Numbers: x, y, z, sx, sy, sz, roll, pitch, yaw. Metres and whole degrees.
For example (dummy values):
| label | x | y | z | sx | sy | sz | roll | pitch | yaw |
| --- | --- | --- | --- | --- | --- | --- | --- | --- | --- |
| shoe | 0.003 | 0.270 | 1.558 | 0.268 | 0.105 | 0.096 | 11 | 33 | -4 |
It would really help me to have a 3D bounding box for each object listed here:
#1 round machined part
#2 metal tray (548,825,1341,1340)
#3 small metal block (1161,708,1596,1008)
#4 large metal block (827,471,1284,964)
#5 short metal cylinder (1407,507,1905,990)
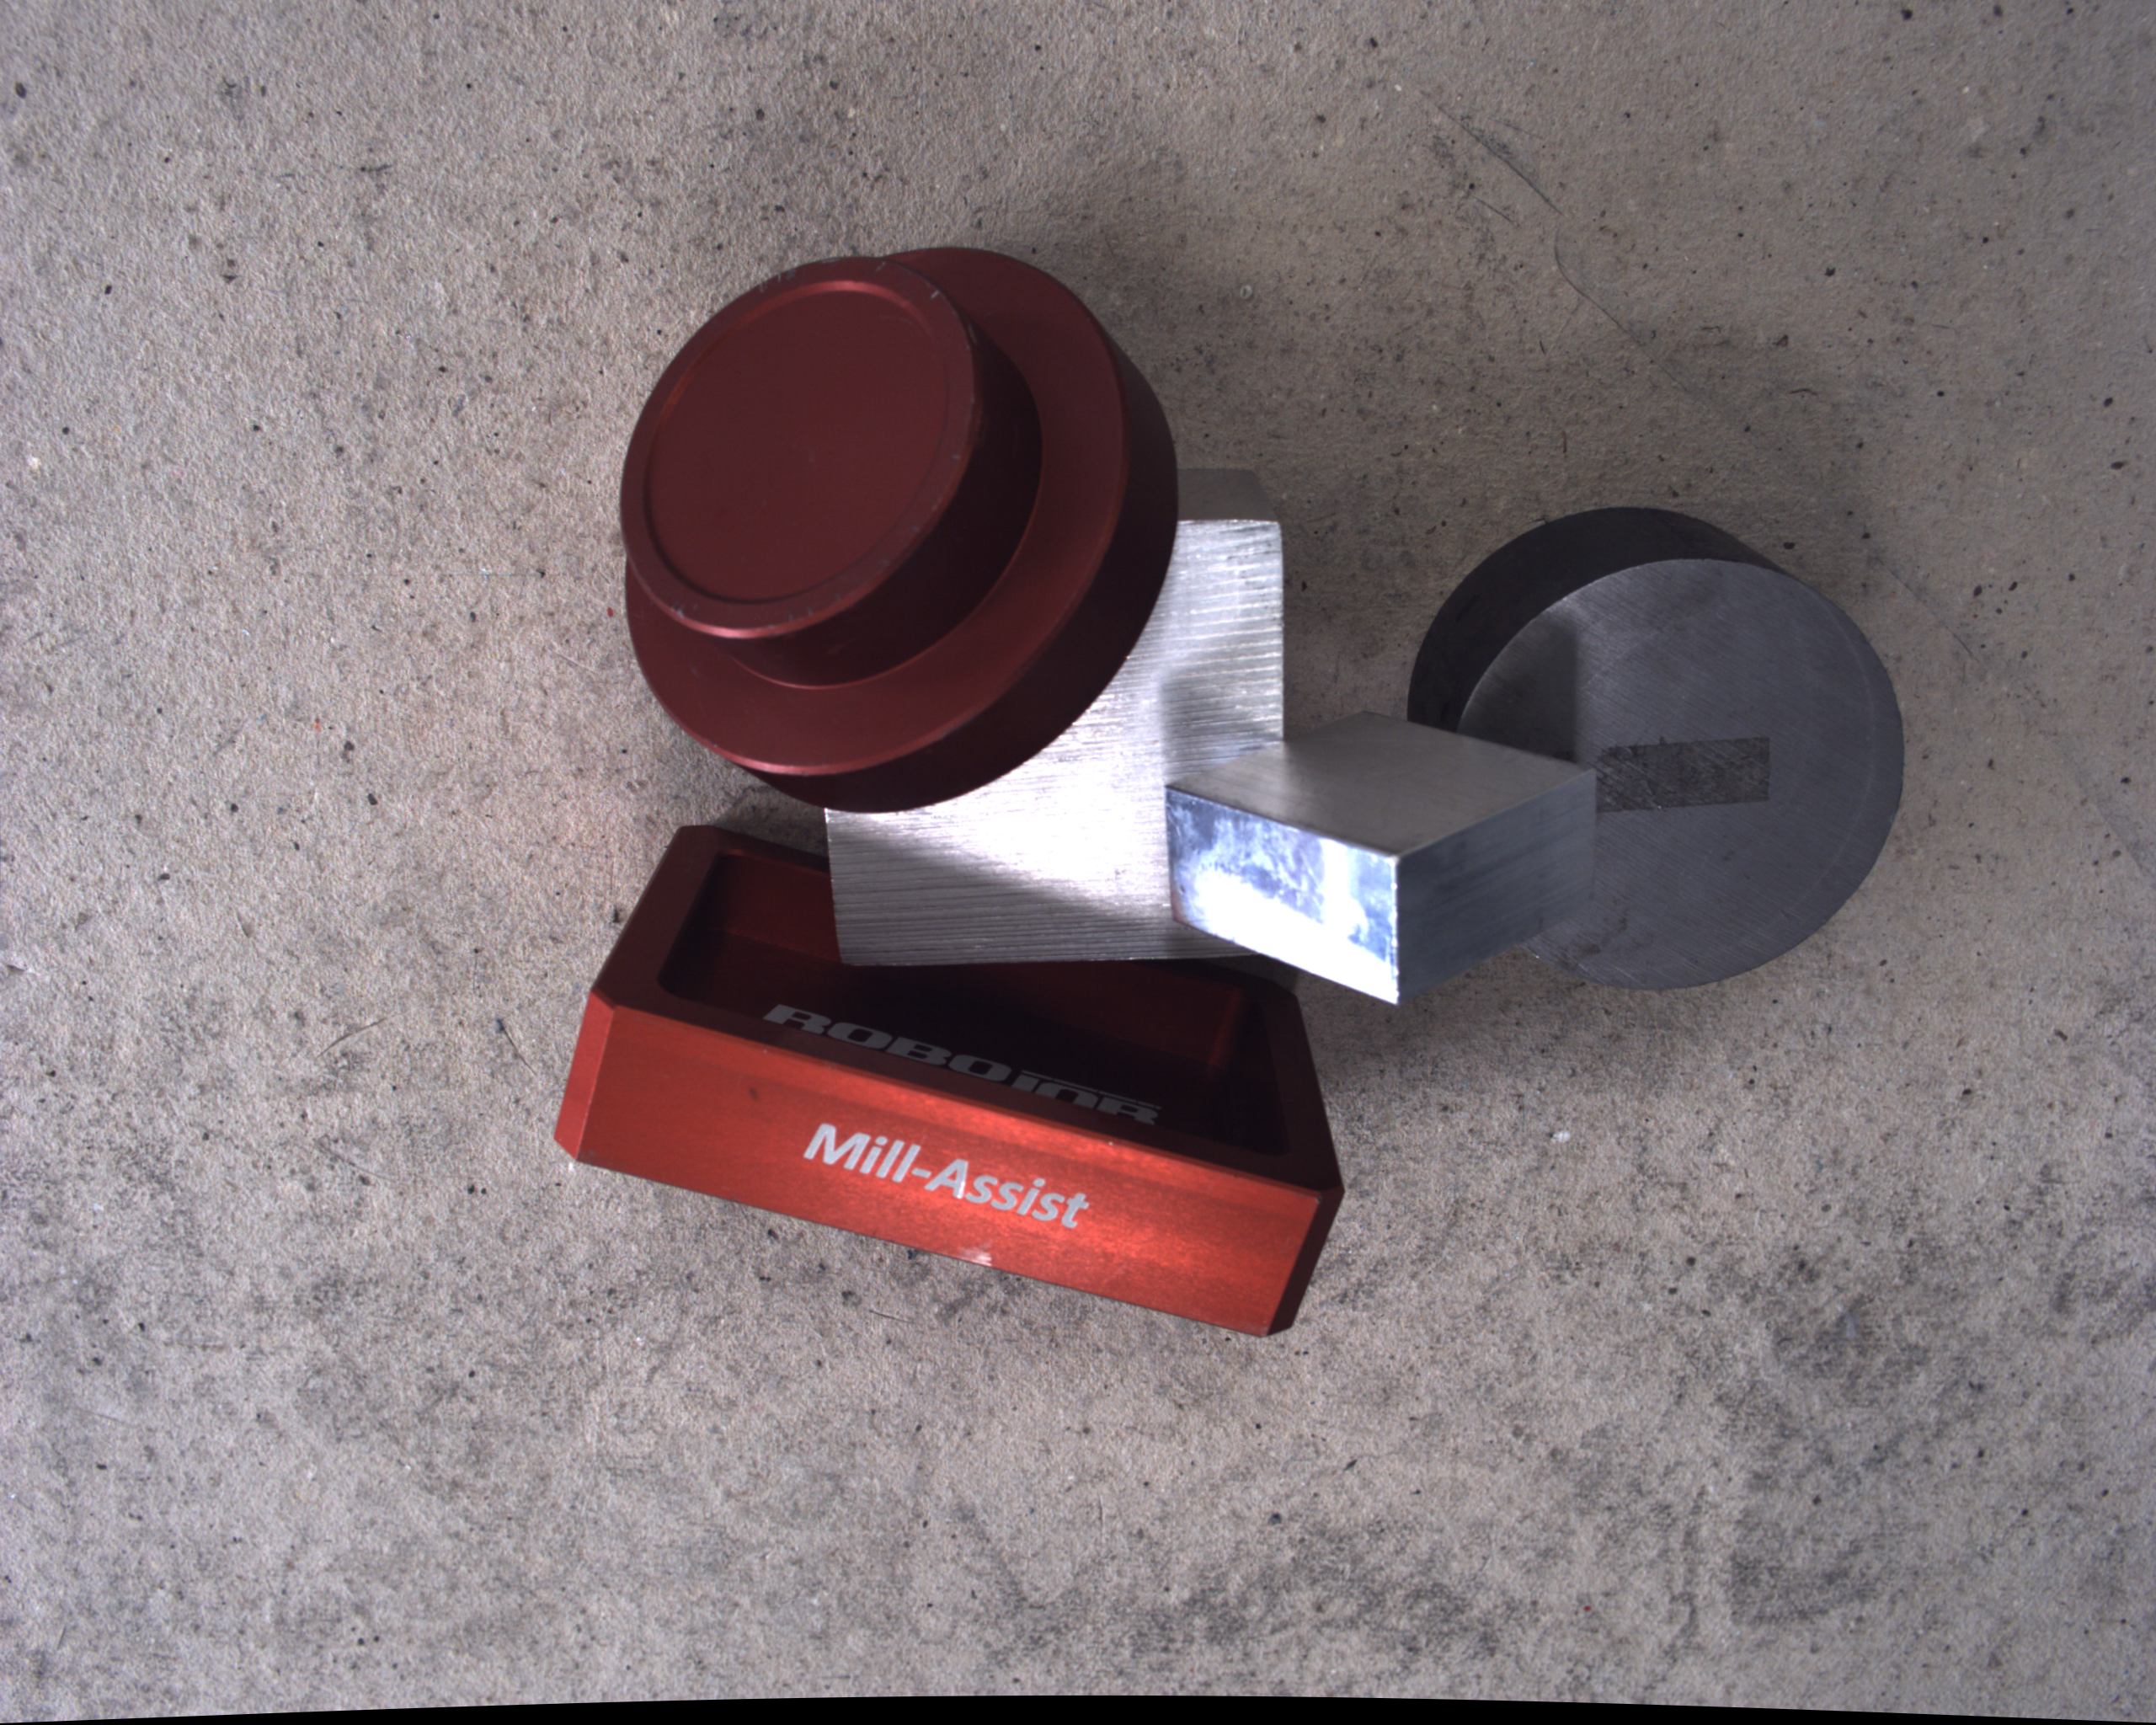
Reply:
| label | x | y | z | sx | sy | sz | roll | pitch | yaw |
| --- | --- | --- | --- | --- | --- | --- | --- | --- | --- |
| round machined part | -0.037 | -0.061 | 0.349 | 0.098 | 0.098 | 0.042 | -35 | 151 | 11 |
| metal tray | -0.022 | 0.037 | 0.389 | 0.131 | 0.090 | 0.030 | 16 | 110 | -6 |
| small metal block | 0.050 | -0.003 | 0.348 | 0.050 | 0.050 | 0.025 | -22 | 118 | -37 |
| large metal block | -0.005 | -0.029 | 0.388 | 0.080 | 0.050 | 0.079 | -1 | 110 | 0 |
| short metal cylinder | 0.105 | -0.023 | 0.391 | 0.081 | 0.050 | 0.079 | 0 | 110 | 0 |
